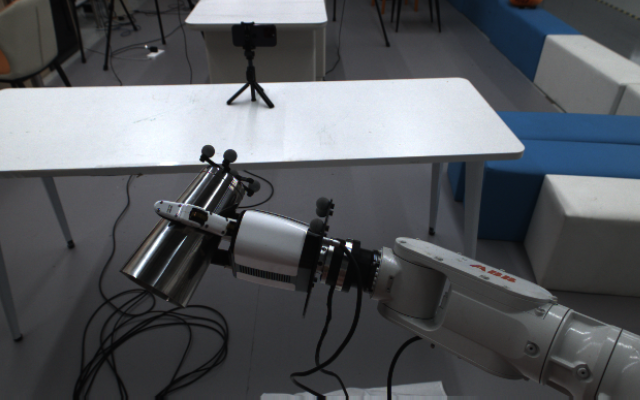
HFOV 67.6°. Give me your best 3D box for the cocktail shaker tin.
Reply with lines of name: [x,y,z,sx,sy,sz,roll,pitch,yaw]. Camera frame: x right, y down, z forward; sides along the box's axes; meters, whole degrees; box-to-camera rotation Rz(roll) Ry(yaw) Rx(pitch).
cocktail shaker tin: [-0.165,0.040,0.622,0.093,0.093,0.170,18,66,22]
